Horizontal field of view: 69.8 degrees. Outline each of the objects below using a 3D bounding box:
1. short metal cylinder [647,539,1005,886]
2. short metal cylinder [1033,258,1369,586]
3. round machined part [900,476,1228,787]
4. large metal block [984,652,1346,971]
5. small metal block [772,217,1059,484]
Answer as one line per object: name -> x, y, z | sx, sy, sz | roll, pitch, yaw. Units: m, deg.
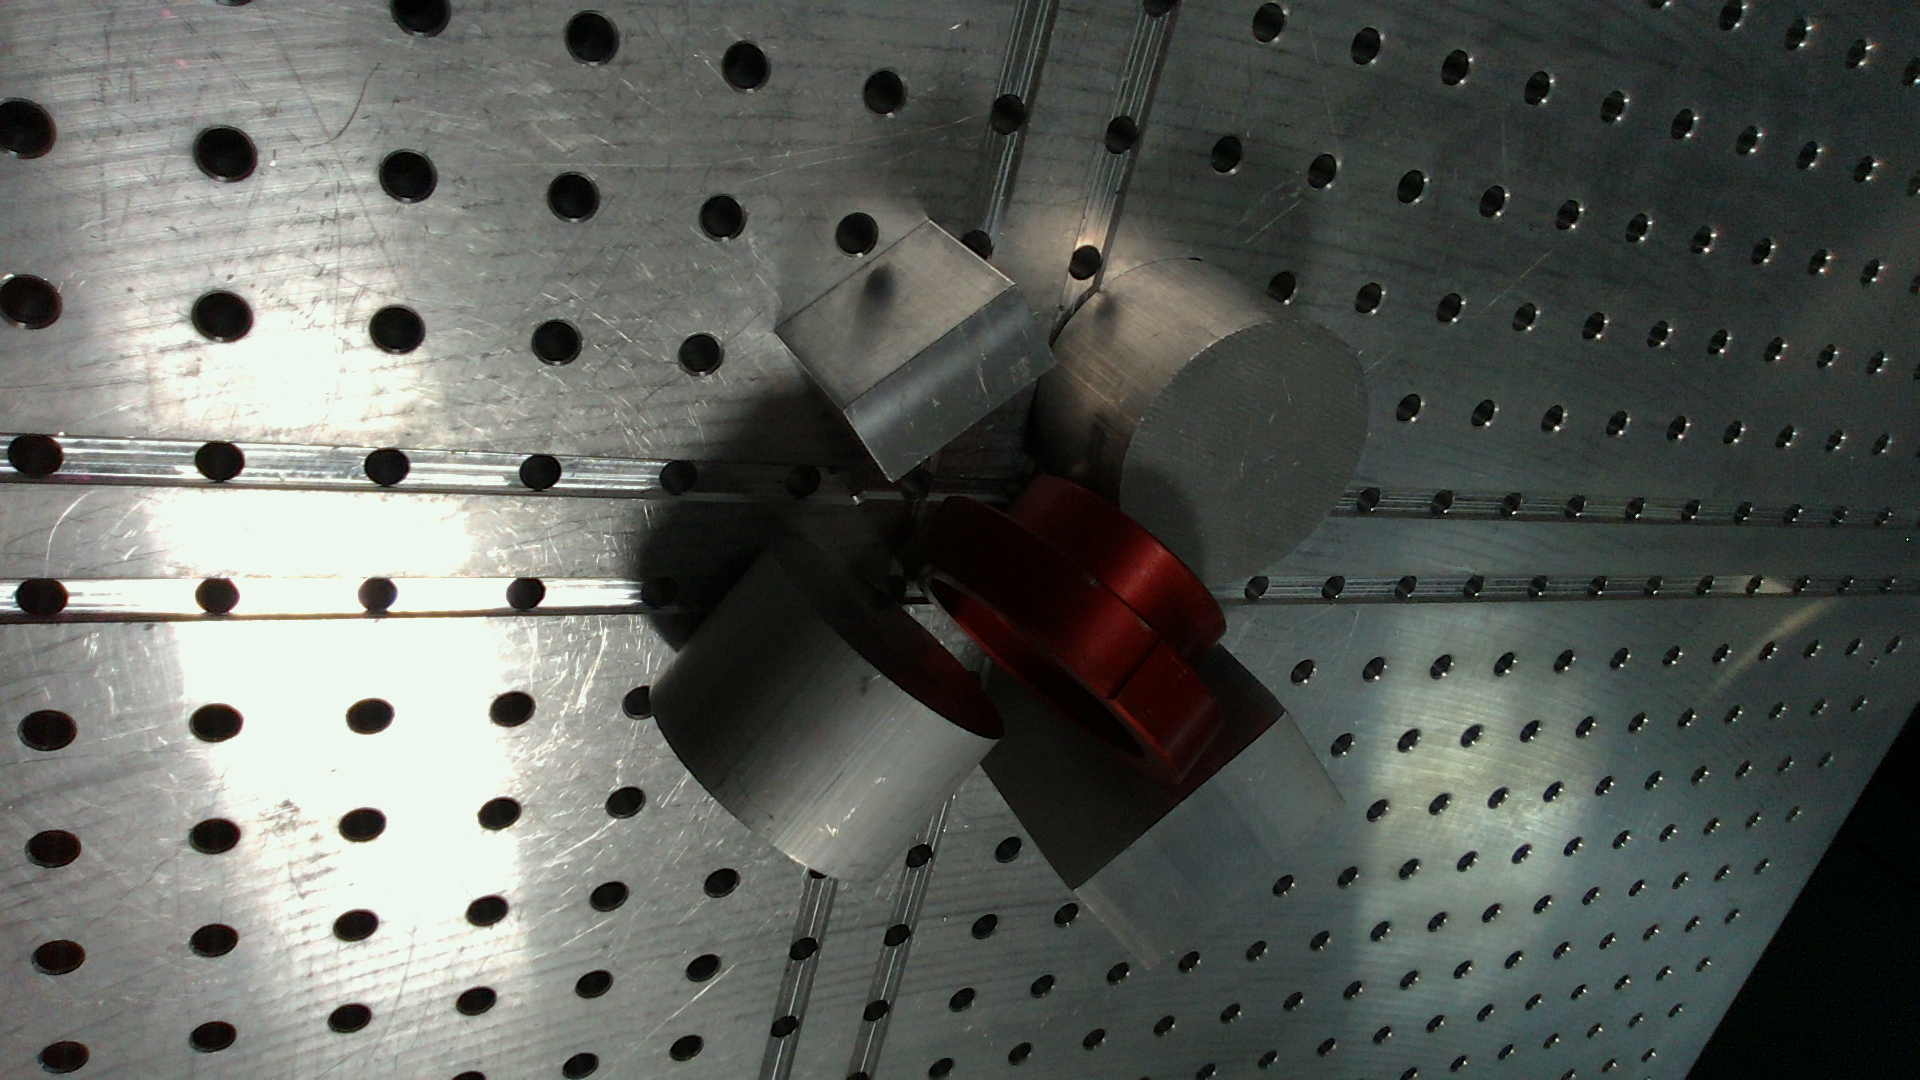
short metal cylinder -> -0.035, 0.044, 0.365 | 0.050, 0.080, 0.080 | -49, 129, 7
short metal cylinder -> 0.068, -0.034, 0.392 | 0.080, 0.050, 0.080 | -14, 124, -21
round machined part -> 0.034, 0.020, 0.376 | 0.042, 0.098, 0.098 | -49, 130, -9
large metal block -> 0.058, 0.071, 0.432 | 0.080, 0.080, 0.050 | -40, 129, -1
small metal block -> -0.012, -0.048, 0.340 | 0.050, 0.050, 0.025 | -36, 129, -4
